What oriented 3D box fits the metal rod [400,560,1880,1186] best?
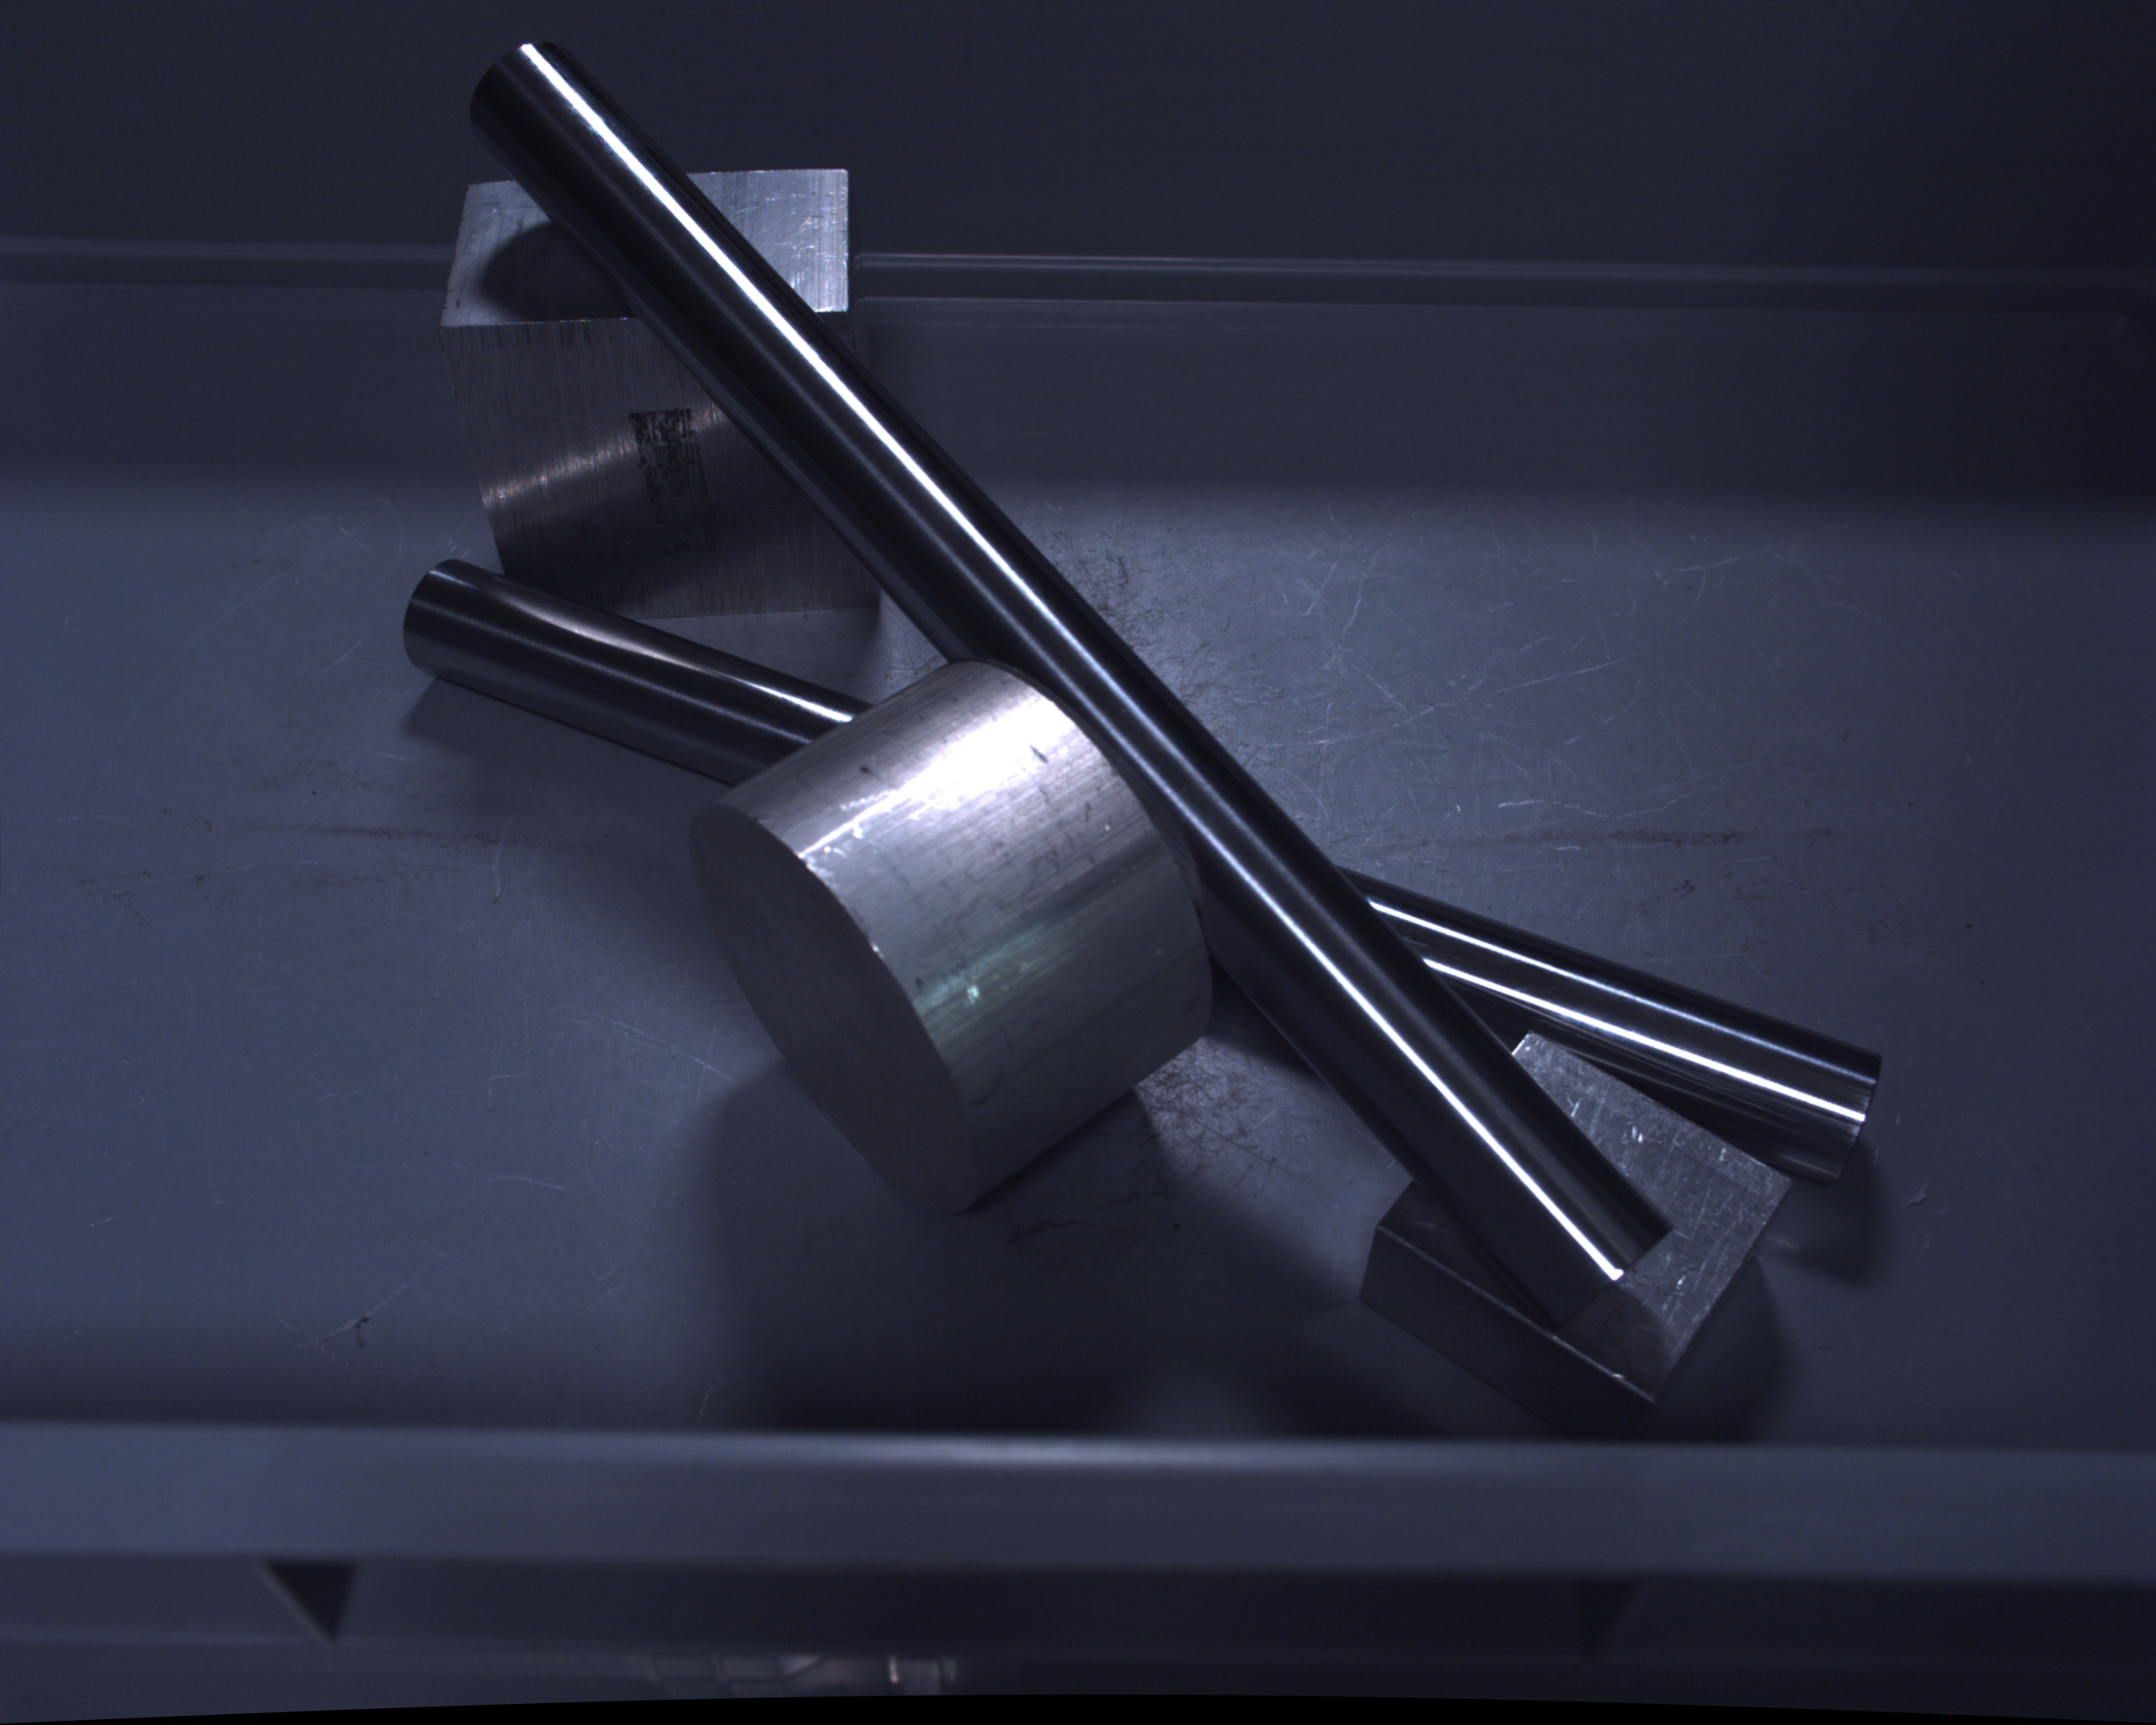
[{"bbox_3d":[0.000,-0.004,0.406,0.301,0.025,0.025,20,53,15],"label":"metal rod"}]

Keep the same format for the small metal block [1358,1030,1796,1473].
[{"bbox_3d":[0.083,0.064,0.351,0.050,0.025,0.050,31,56,23],"label":"small metal block"}]

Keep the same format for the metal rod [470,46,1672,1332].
[{"bbox_3d":[-0.014,-0.043,0.364,0.025,0.025,0.300,-33,70,-25],"label":"metal rod"}]

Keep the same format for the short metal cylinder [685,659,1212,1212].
[{"bbox_3d":[-0.023,0.012,0.356,0.050,0.080,0.080,-33,58,-25],"label":"short metal cylinder"}]

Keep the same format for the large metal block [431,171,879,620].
[{"bbox_3d":[-0.086,-0.099,0.450,0.081,0.080,0.050,-3,50,-3],"label":"large metal block"}]
